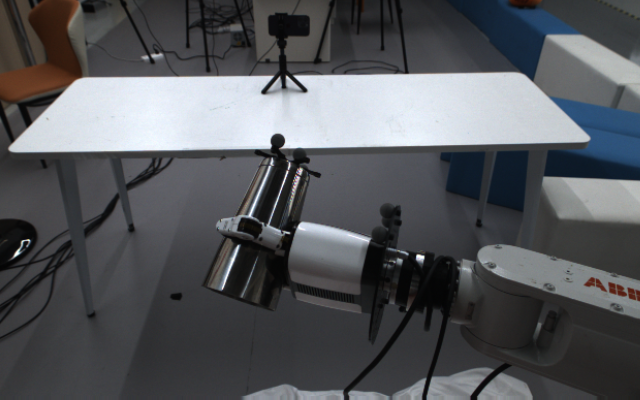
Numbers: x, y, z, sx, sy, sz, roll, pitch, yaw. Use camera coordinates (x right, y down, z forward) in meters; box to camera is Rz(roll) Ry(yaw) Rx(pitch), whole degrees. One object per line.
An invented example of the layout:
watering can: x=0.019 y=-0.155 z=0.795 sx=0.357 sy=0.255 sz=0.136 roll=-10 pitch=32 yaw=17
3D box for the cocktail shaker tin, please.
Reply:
cocktail shaker tin: x=-0.069 y=0.040 z=0.588 sx=0.093 sy=0.093 sz=0.170 roll=14 pitch=73 yaw=17
